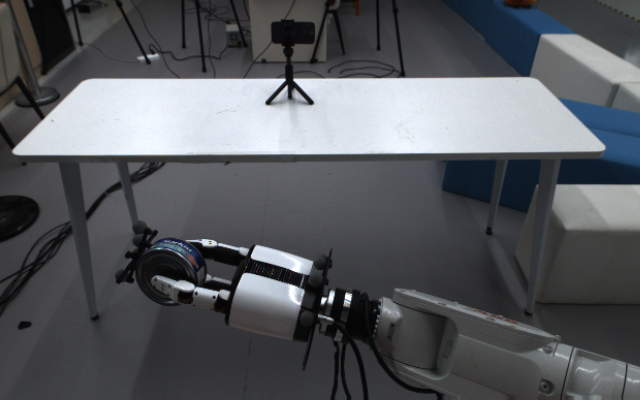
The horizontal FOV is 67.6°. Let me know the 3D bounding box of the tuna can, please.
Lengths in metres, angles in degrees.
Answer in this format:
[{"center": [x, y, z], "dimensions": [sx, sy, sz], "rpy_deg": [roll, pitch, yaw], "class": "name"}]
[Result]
[{"center": [-0.191, 0.094, 0.629], "dimensions": [0.085, 0.085, 0.034], "rpy_deg": [6, 20, 6], "class": "tuna can"}]
